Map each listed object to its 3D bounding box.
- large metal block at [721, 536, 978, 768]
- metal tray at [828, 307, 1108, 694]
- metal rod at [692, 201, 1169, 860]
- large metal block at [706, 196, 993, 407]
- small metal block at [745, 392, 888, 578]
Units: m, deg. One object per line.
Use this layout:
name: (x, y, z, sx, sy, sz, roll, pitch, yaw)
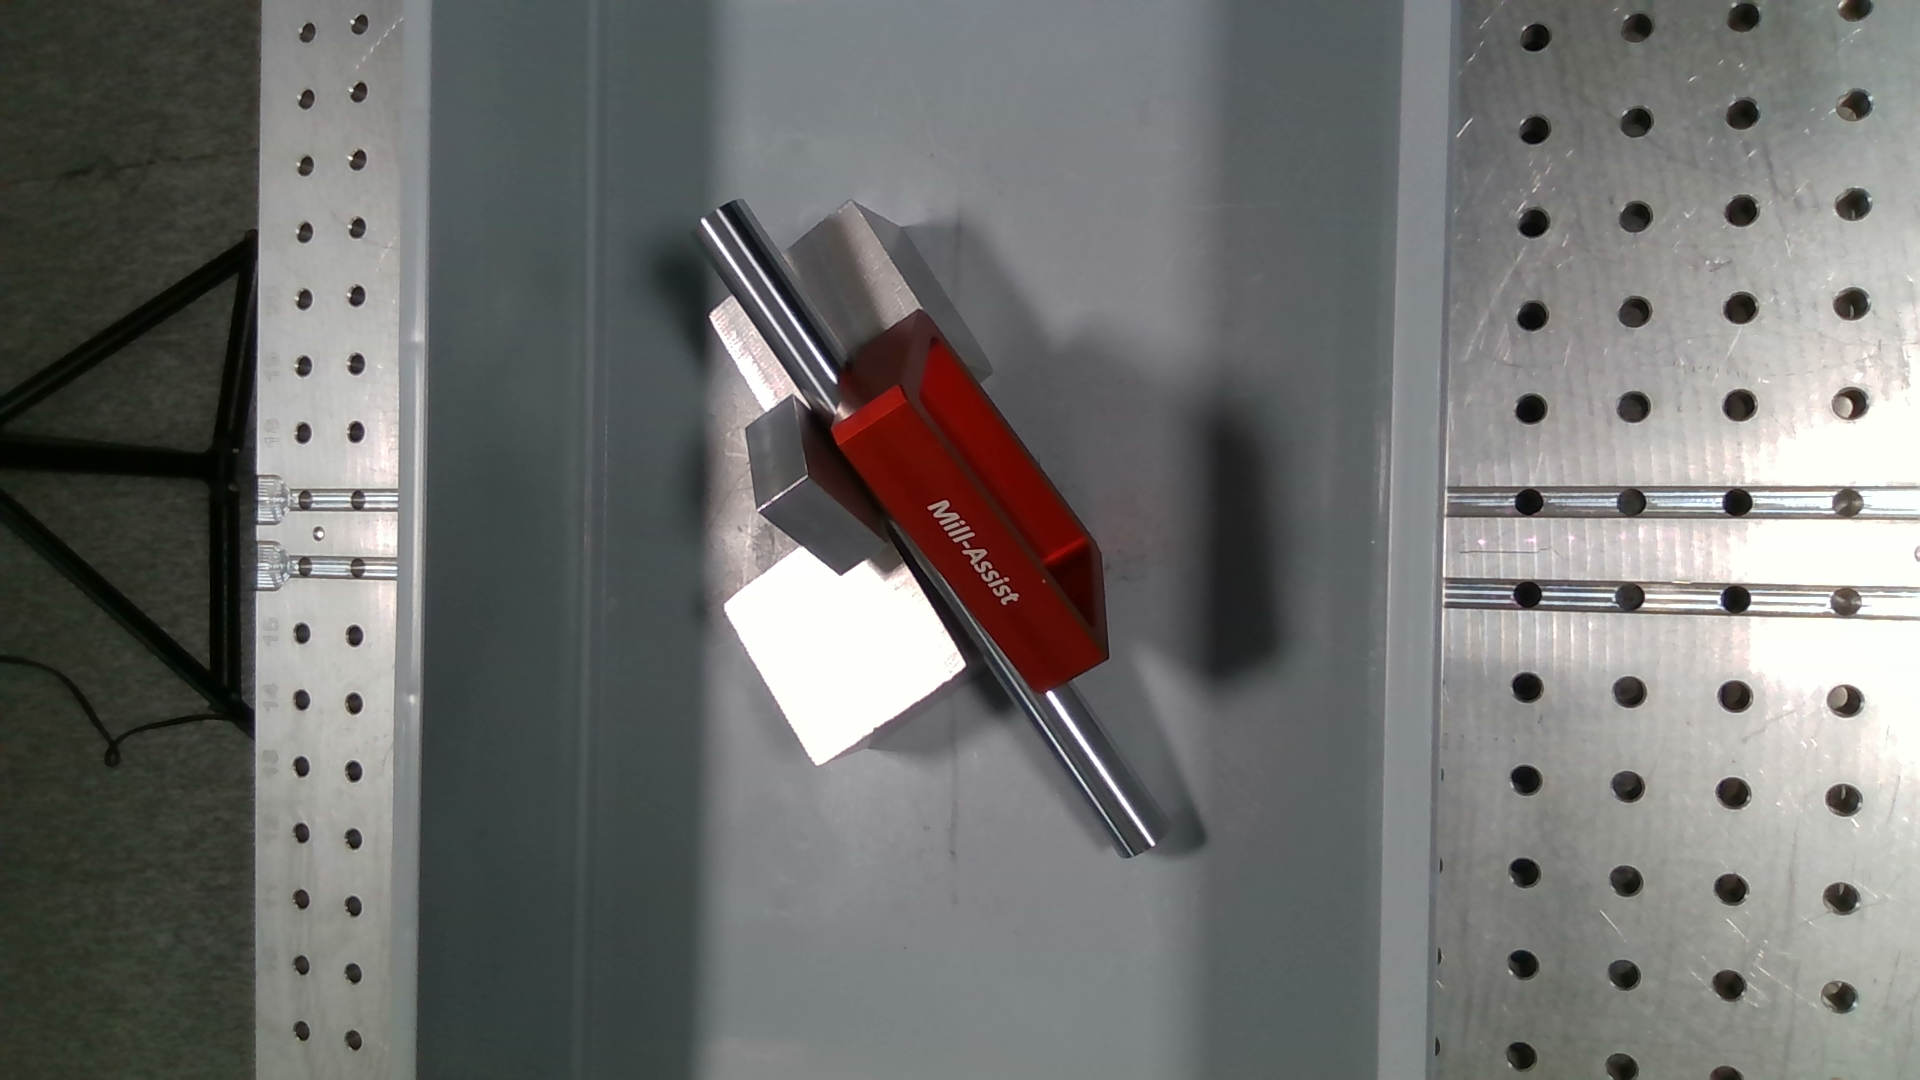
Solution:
large metal block: (-0.041, 0.038, 0.587, 0.080, 0.050, 0.080, -35, 79, 17)
metal tray: (0.007, -0.016, 0.518, 0.030, 0.090, 0.130, -31, 112, 19)
metal rod: (-0.010, -0.001, 0.549, 0.025, 0.025, 0.300, -33, 95, 17)
large metal block: (-0.046, -0.084, 0.585, 0.080, 0.050, 0.080, -35, 79, 17)
small metal block: (-0.057, -0.021, 0.540, 0.025, 0.050, 0.050, -32, 43, 17)
